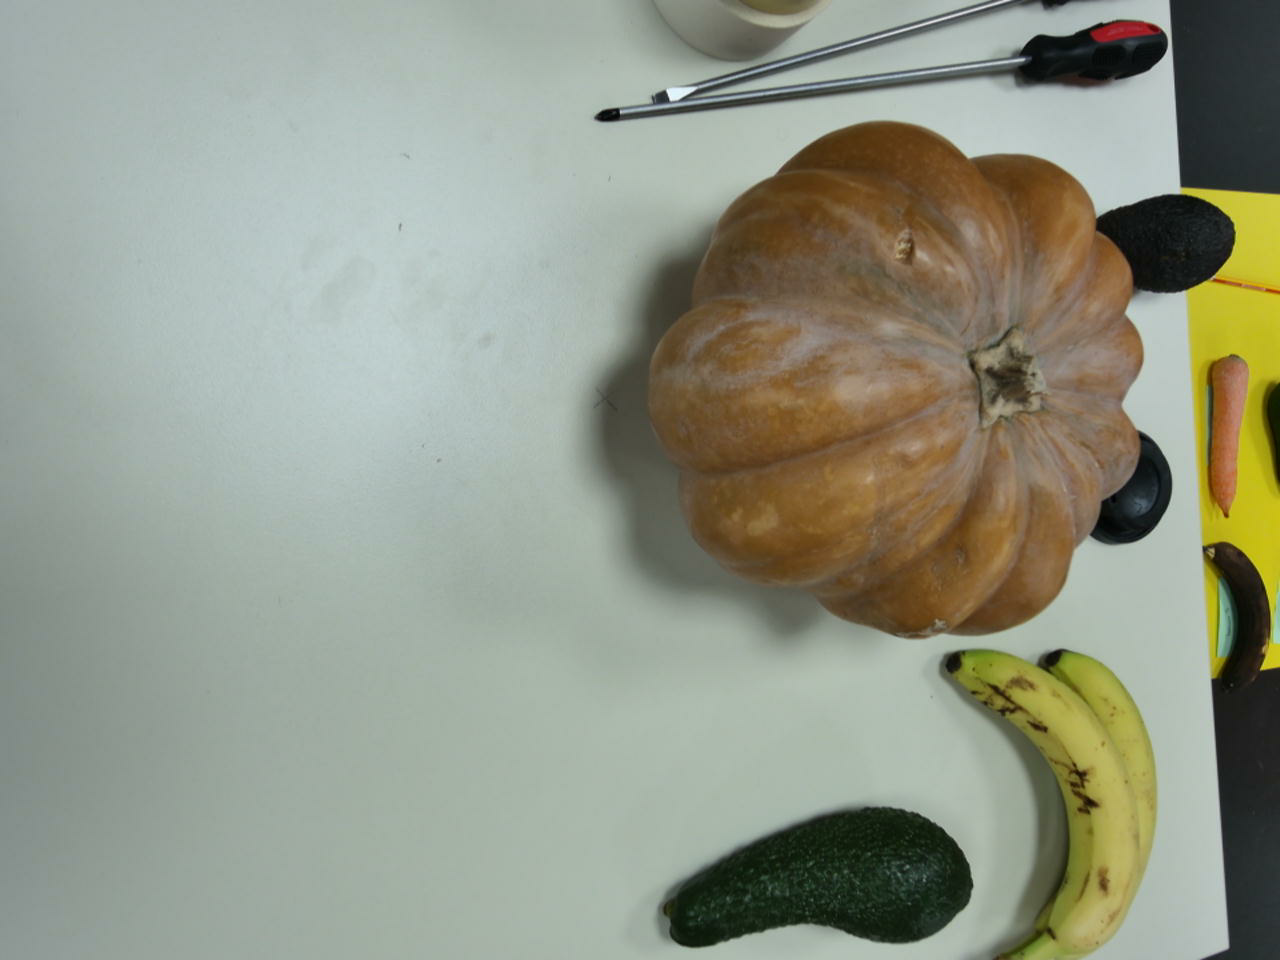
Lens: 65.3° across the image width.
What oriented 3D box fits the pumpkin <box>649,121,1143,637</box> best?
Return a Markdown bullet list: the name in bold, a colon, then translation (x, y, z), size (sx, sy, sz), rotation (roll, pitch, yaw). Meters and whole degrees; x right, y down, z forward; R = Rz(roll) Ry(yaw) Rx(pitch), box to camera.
- **pumpkin**: translation (0.136, -0.049, 0.526), size (0.277, 0.181, 0.277), rotation (-1, 92, -23)
